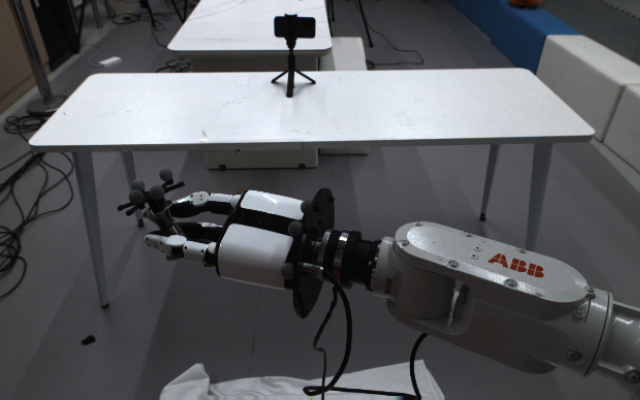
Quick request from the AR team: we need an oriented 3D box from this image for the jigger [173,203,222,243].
[{"bbox_3d":[-0.191,0.038,0.631,0.043,0.071,0.043,-19,24,9],"label":"jigger"}]
